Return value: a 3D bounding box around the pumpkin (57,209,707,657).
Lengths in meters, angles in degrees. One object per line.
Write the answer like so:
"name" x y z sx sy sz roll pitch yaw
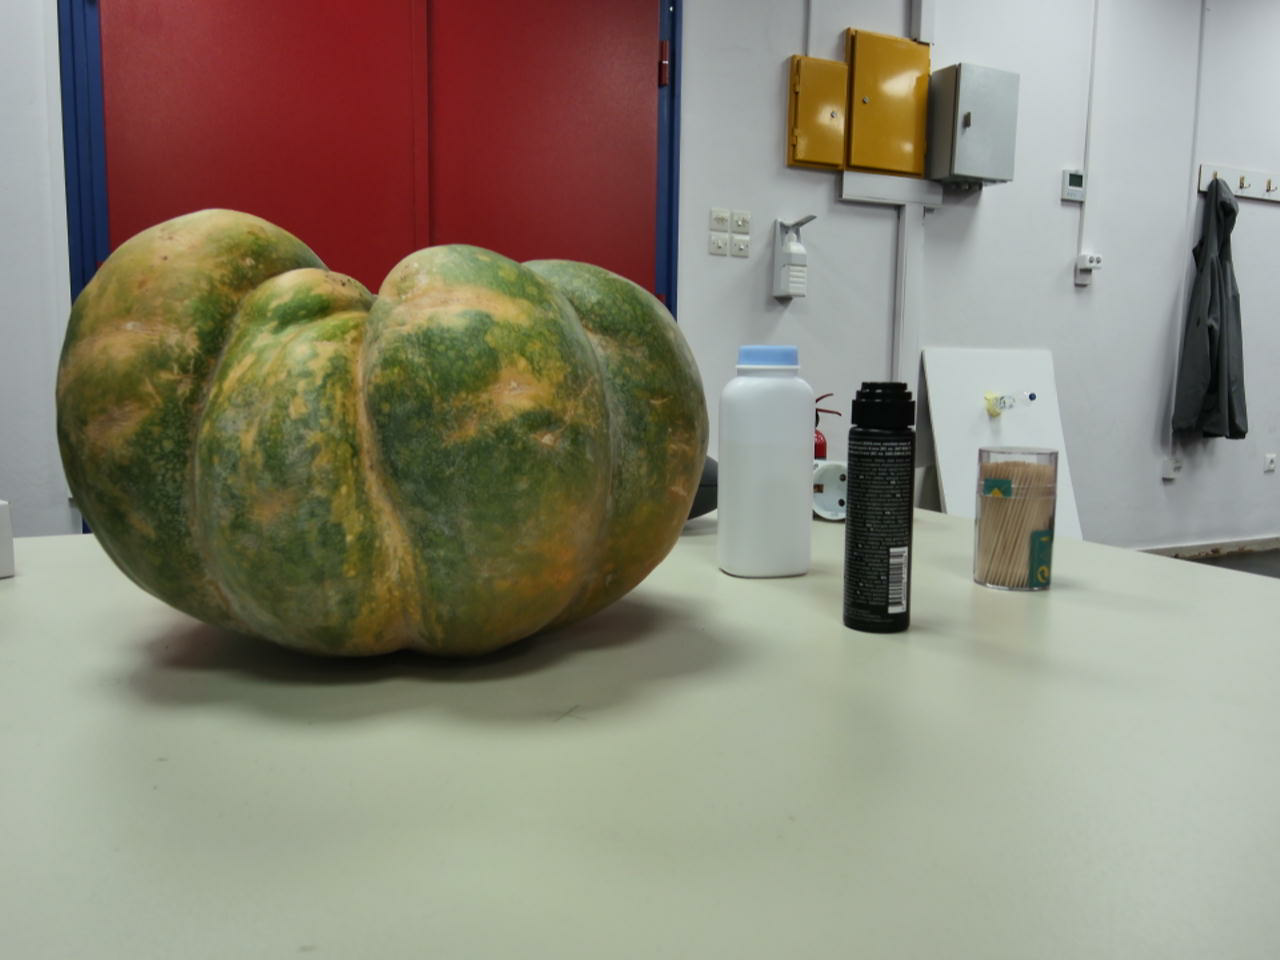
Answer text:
"pumpkin" -0.105 -0.018 0.432 0.270 0.173 0.237 1 4 11
